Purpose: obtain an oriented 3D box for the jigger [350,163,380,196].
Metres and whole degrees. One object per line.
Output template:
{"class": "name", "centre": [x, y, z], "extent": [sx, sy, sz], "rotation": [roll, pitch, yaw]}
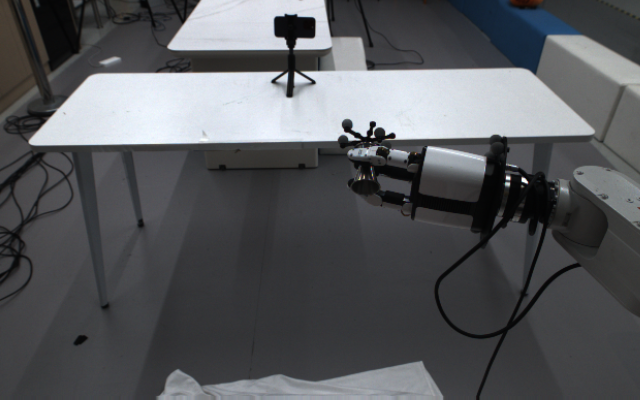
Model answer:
{"class": "jigger", "centre": [0.067, -0.050, 0.717], "extent": [0.043, 0.043, 0.071], "rotation": [4, 61, 3]}
